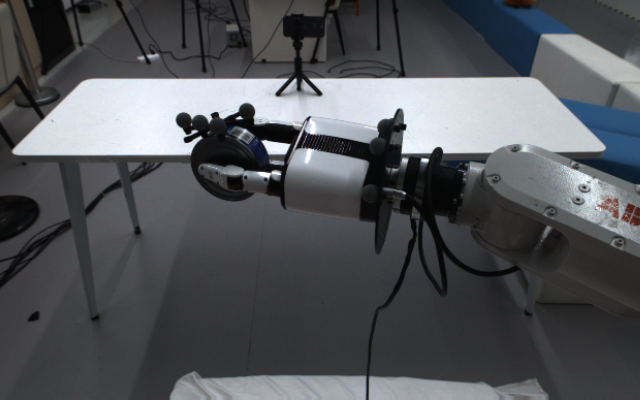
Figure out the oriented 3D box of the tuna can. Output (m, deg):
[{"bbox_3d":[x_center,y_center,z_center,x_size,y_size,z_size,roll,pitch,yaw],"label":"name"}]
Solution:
[{"bbox_3d":[-0.100,-0.039,0.559,0.085,0.085,0.034,9,34,10],"label":"tuna can"}]
